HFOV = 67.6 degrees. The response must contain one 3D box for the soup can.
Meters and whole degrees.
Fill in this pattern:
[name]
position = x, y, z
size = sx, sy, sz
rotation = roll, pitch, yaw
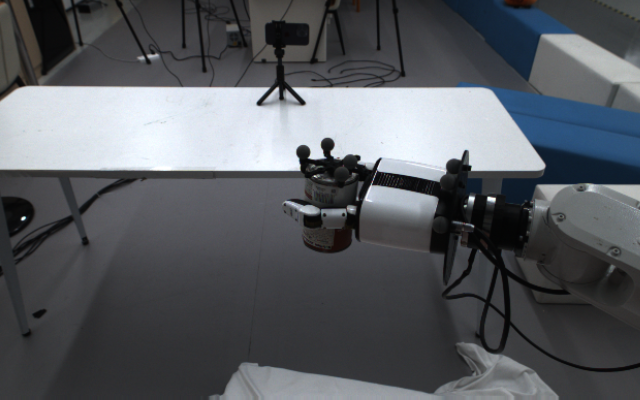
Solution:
[soup can]
position = 0.013, 0.007, 0.614
size = 0.067, 0.101, 0.067
rotation = 3, 30, -2
